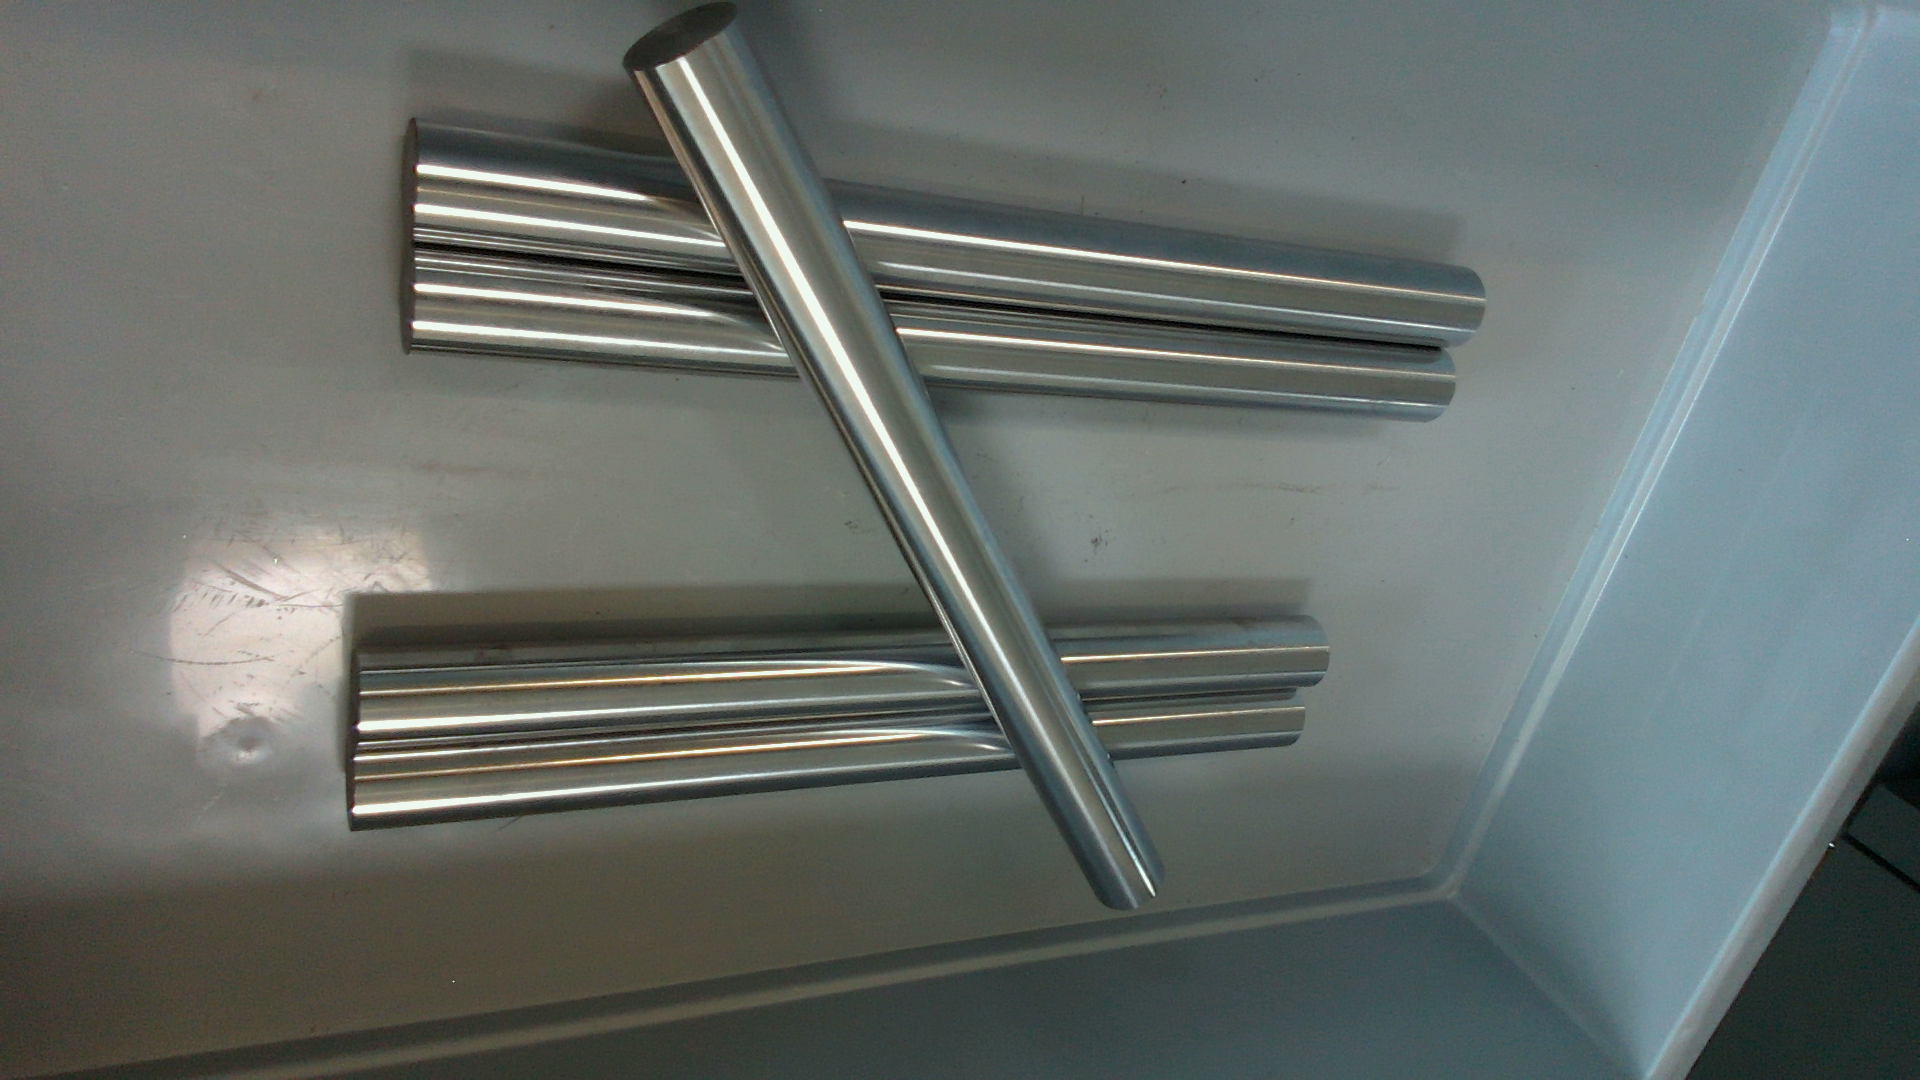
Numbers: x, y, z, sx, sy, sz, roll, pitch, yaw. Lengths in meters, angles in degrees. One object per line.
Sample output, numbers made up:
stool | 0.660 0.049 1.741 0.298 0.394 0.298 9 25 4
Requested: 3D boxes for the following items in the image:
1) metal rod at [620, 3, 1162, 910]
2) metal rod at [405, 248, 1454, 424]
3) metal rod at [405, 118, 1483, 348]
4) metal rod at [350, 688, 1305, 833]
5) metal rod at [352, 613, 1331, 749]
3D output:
metal rod | 0.000 0.007 0.360 0.025 0.025 0.301 -33 129 -7
metal rod | 0.015 -0.050 0.364 0.301 0.025 0.025 0 118 -29
metal rod | 0.020 -0.072 0.353 0.301 0.025 0.025 0 118 -29
metal rod | -0.019 0.060 0.414 0.301 0.025 0.025 0 118 -28
metal rod | -0.013 0.038 0.403 0.301 0.025 0.025 0 118 -28
